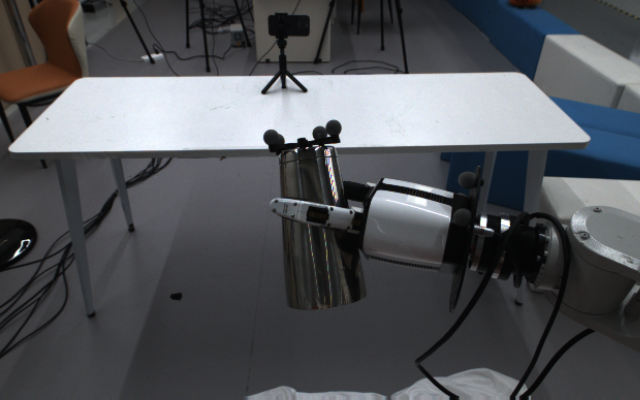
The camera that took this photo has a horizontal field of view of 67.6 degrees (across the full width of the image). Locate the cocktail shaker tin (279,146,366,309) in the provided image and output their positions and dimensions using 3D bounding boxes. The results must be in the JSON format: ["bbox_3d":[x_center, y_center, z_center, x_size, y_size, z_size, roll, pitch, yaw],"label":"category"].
[{"bbox_3d":[-0.002,0.029,0.550,0.093,0.170,0.093,-8,1,0],"label":"cocktail shaker tin"}]
